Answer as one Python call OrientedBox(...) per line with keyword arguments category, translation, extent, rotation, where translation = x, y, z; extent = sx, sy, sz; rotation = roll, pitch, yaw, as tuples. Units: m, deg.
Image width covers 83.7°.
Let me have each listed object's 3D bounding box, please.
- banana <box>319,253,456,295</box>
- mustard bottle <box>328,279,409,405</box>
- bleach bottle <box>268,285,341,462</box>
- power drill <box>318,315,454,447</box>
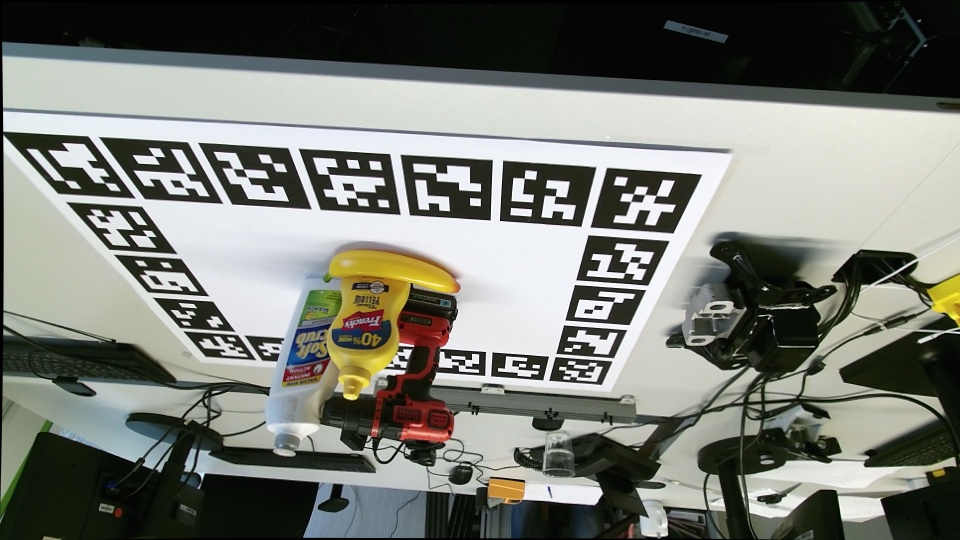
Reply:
OrientedBox(category="banana", translation=(-0.132, 0.009, 0.759), extent=(0.198, 0.038, 0.074), rotation=(5, 141, -3))
OrientedBox(category="mustard bottle", translation=(-0.158, 0.093, 0.730), extent=(0.096, 0.190, 0.058), rotation=(4, 141, 2))
OrientedBox(category="bleach bottle", translation=(-0.231, 0.143, 0.763), extent=(0.103, 0.249, 0.068), rotation=(5, 147, 0))
OrientedBox(category="power drill", translation=(-0.120, 0.155, 0.772), extent=(0.185, 0.186, 0.057), rotation=(12, 142, -6))
